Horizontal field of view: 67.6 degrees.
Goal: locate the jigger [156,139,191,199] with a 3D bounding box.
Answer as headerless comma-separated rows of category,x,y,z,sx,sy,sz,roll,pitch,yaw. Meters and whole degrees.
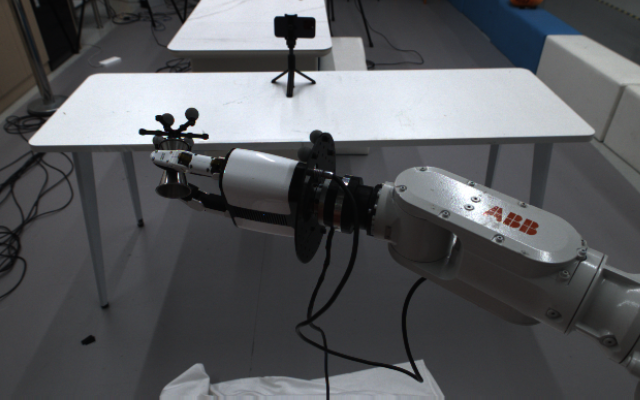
jigger,-0.189,-0.040,0.630,0.043,0.043,0.071,-4,67,-9
